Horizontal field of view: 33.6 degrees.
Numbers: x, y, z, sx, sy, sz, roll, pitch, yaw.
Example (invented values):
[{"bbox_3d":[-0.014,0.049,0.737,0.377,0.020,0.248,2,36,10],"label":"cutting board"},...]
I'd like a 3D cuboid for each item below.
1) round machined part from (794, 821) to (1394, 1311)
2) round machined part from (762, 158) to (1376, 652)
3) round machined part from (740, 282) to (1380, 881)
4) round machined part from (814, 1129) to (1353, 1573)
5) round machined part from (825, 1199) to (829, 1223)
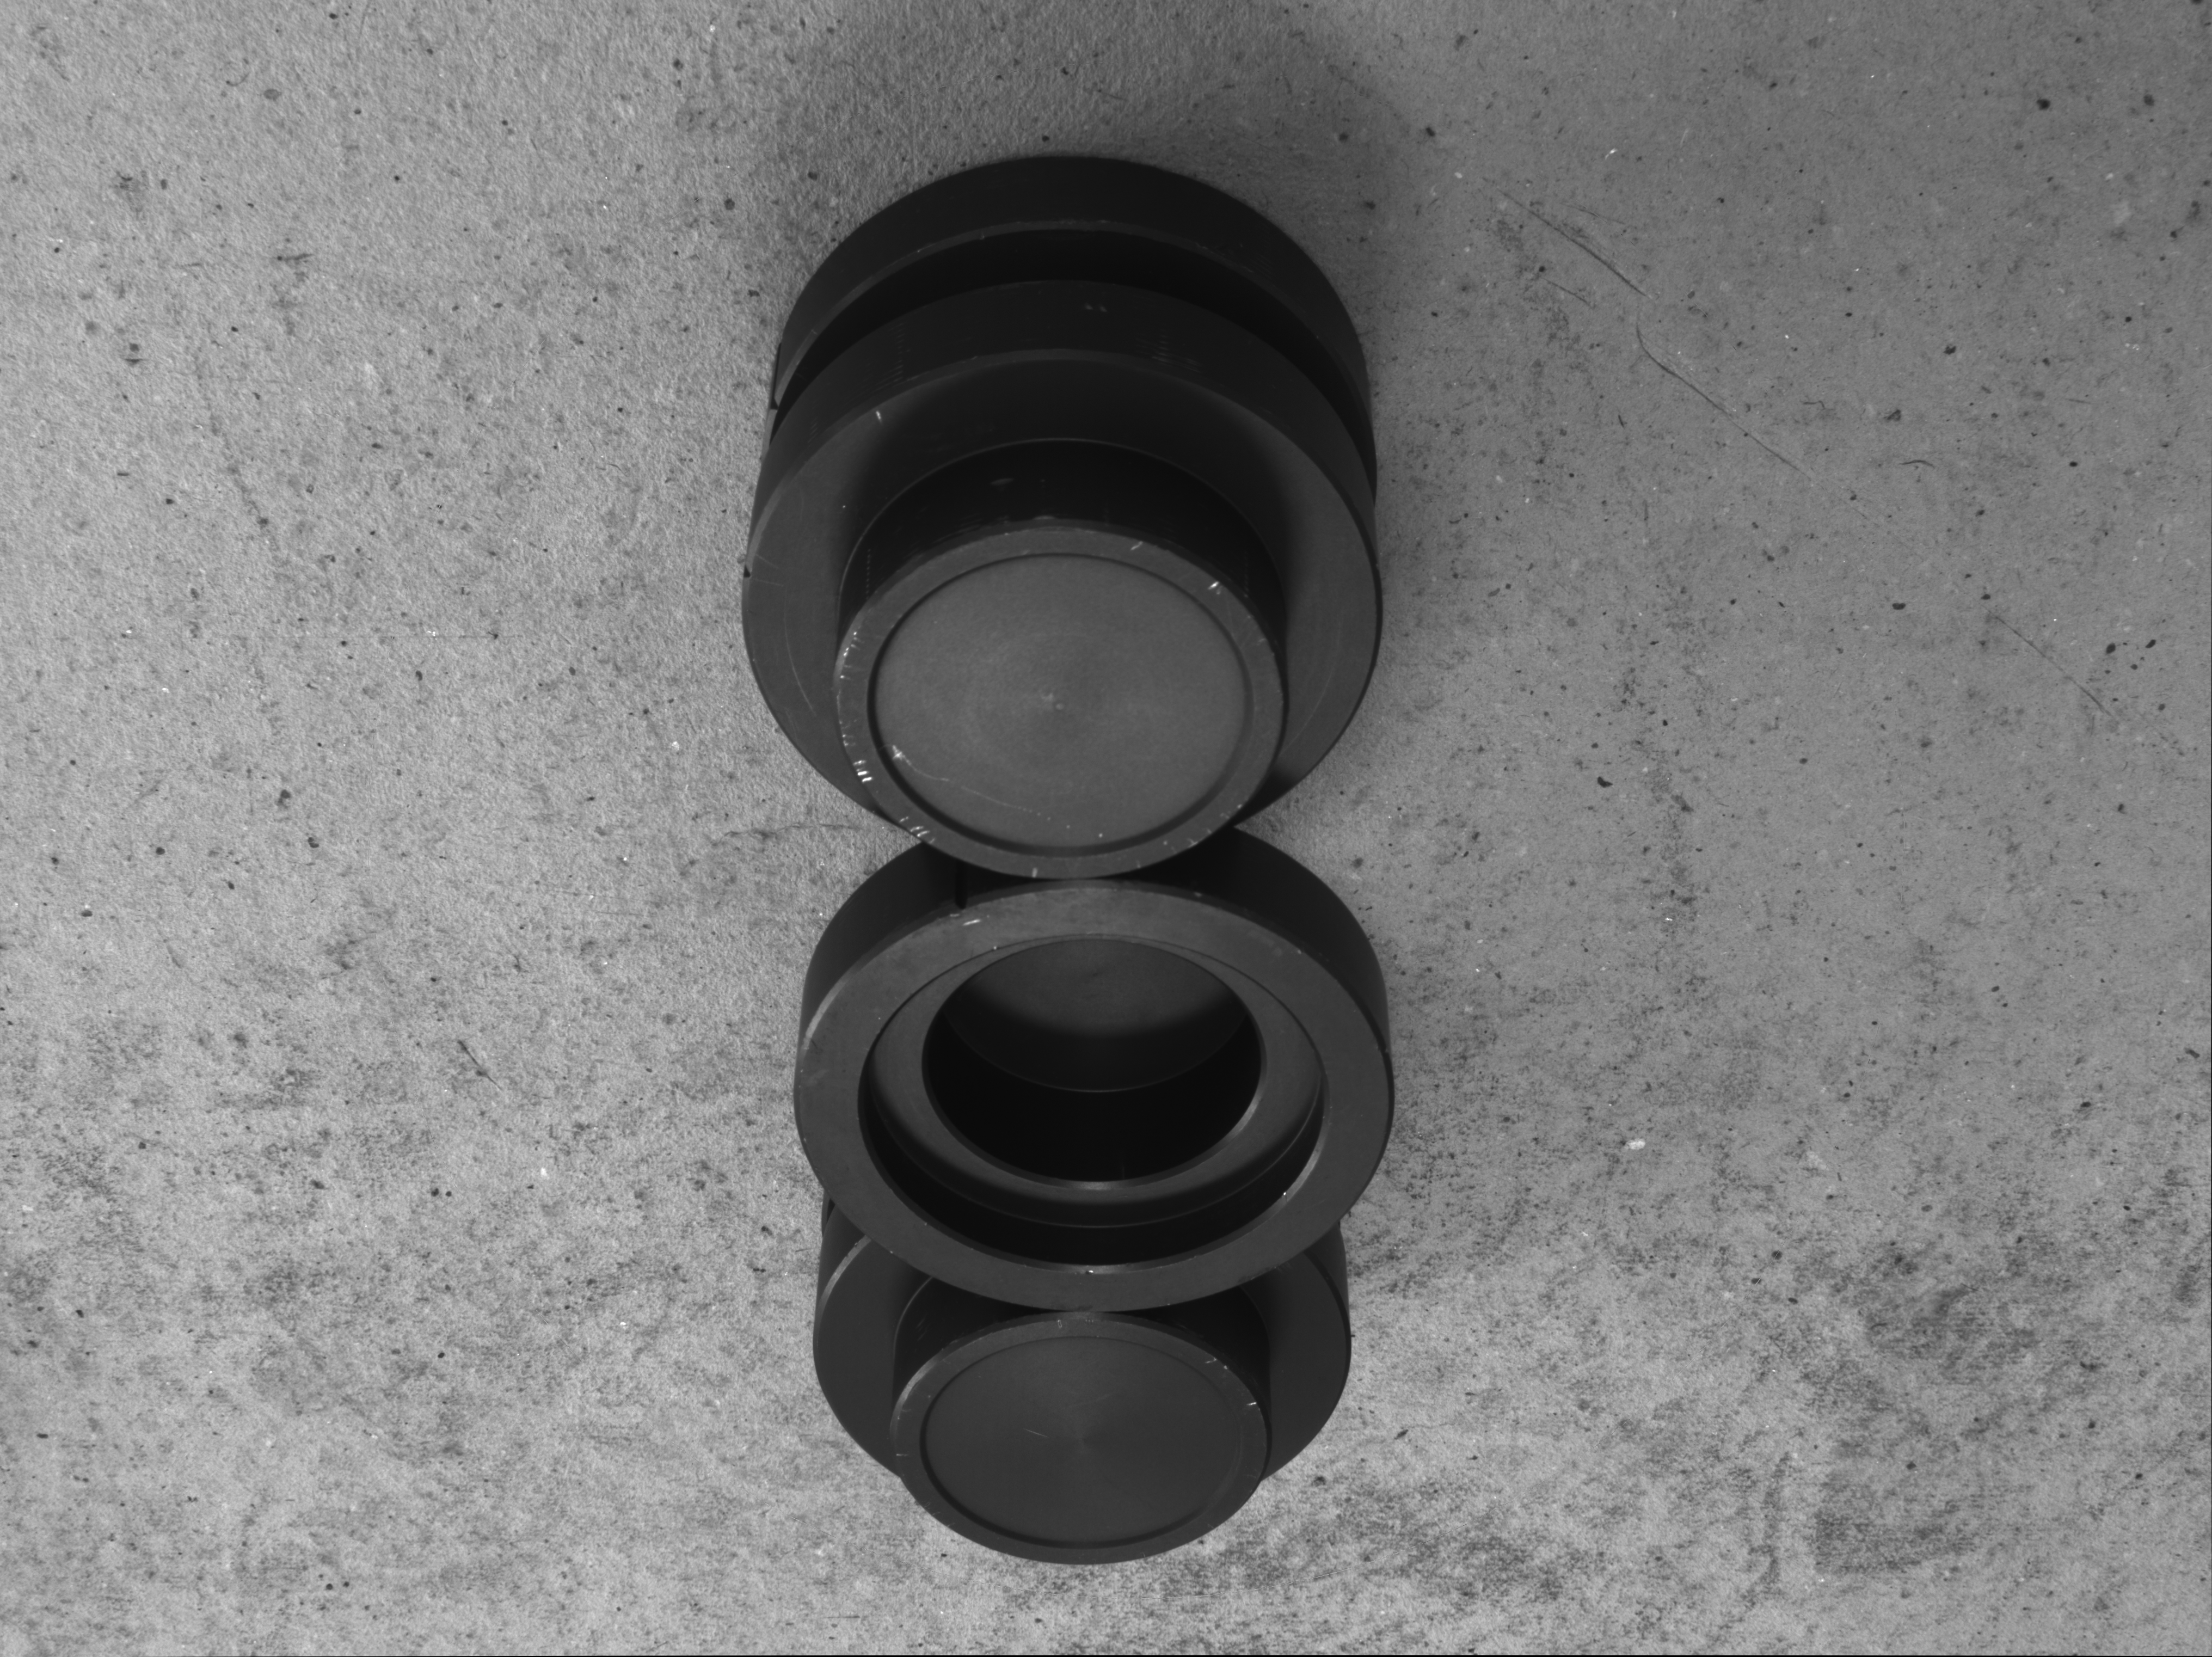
[{"bbox_3d":[-0.002,0.033,0.614,0.098,0.042,0.098,0,130,0],"label":"round machined part"},{"bbox_3d":[-0.006,-0.053,0.583,0.098,0.042,0.098,1,130,1],"label":"round machined part"},{"bbox_3d":[-0.007,-0.031,0.560,0.098,0.042,0.098,0,130,1],"label":"round machined part"},{"bbox_3d":[-0.004,0.098,0.666,0.098,0.042,0.098,0,130,1],"label":"round machined part"},{"bbox_3d":[-0.004,0.077,0.694,0.098,0.042,0.098,0,129,1],"label":"round machined part"}]
